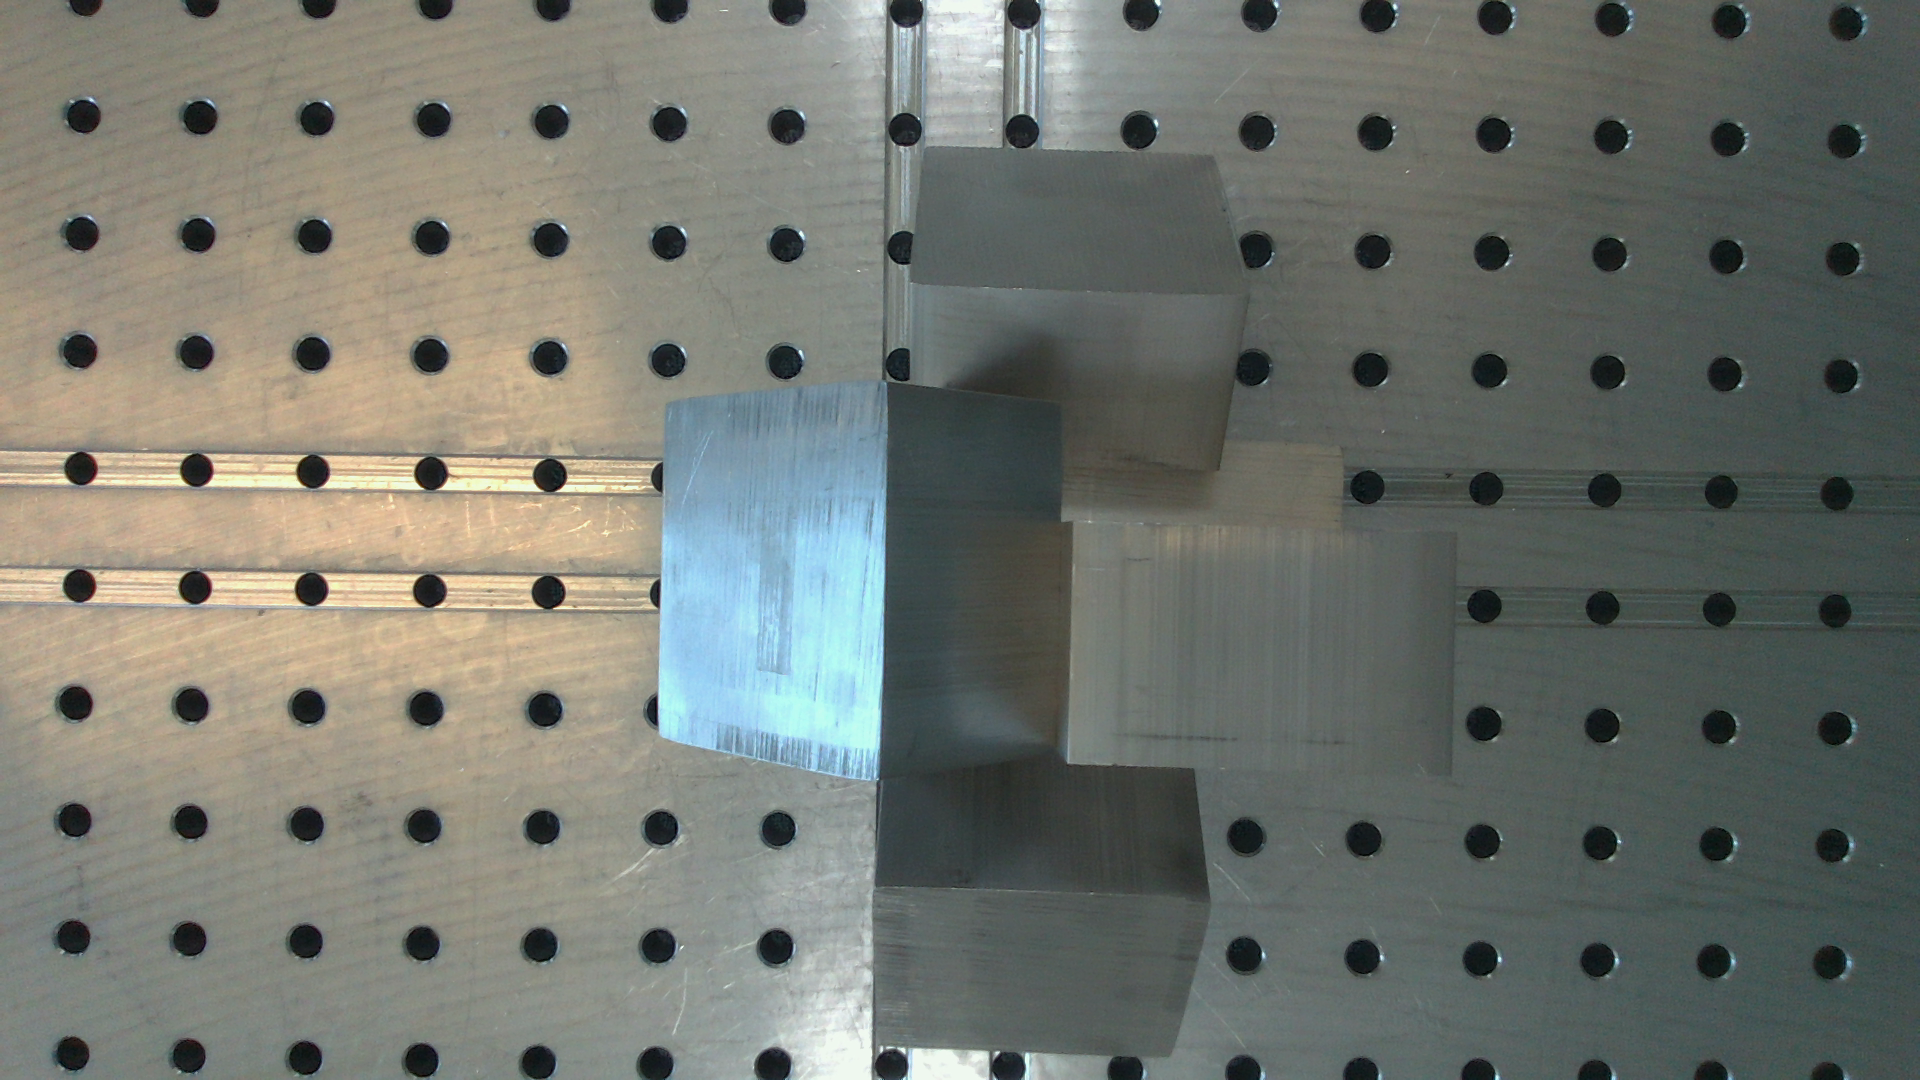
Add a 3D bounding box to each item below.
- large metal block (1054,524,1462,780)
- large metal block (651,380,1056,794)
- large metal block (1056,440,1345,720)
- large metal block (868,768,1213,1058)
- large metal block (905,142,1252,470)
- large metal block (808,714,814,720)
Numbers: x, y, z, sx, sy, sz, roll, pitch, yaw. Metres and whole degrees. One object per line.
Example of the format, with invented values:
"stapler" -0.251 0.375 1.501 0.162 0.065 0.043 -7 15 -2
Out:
"large metal block" 0.062 0.023 0.320 0.080 0.080 0.050 2 90 0
"large metal block" -0.026 0.008 0.312 0.050 0.080 0.080 1 91 -45
"large metal block" 0.059 0.013 0.385 0.080 0.050 0.080 3 90 0
"large metal block" 0.019 0.094 0.365 0.080 0.050 0.080 2 135 0
"large metal block" 0.028 -0.063 0.363 0.080 0.080 0.050 2 129 0
"large metal block" -0.026 0.009 0.385 0.080 0.050 0.080 7 90 0
